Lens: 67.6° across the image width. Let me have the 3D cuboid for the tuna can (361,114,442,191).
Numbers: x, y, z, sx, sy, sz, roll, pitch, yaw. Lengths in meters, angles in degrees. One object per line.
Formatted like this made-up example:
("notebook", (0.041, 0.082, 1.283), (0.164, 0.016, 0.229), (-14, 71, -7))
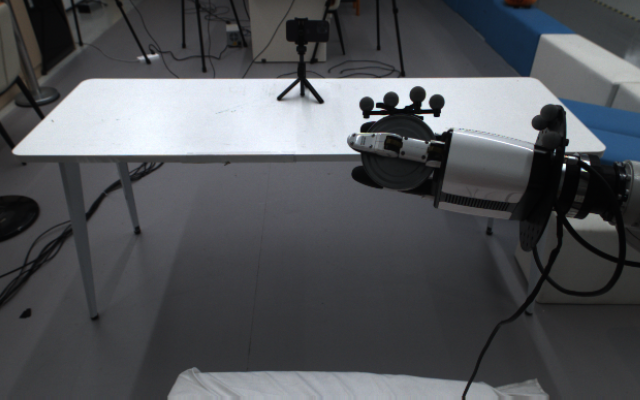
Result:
("tuna can", (0.093, -0.055, 0.557), (0.085, 0.085, 0.034), (13, 0, 15))
